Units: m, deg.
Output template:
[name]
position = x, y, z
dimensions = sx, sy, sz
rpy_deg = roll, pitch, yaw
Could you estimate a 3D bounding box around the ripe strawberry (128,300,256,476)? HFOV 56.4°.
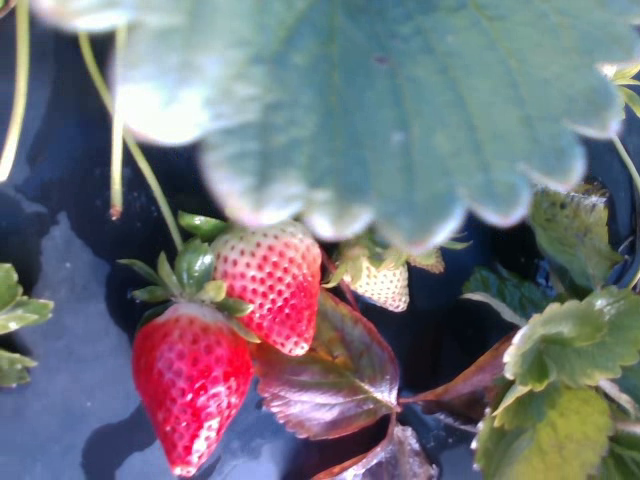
[ripe strawberry]
position = -0.044, 0.049, 0.187
dimensions = 0.044, 0.055, 0.042
rpy_deg = -7, -25, 20
